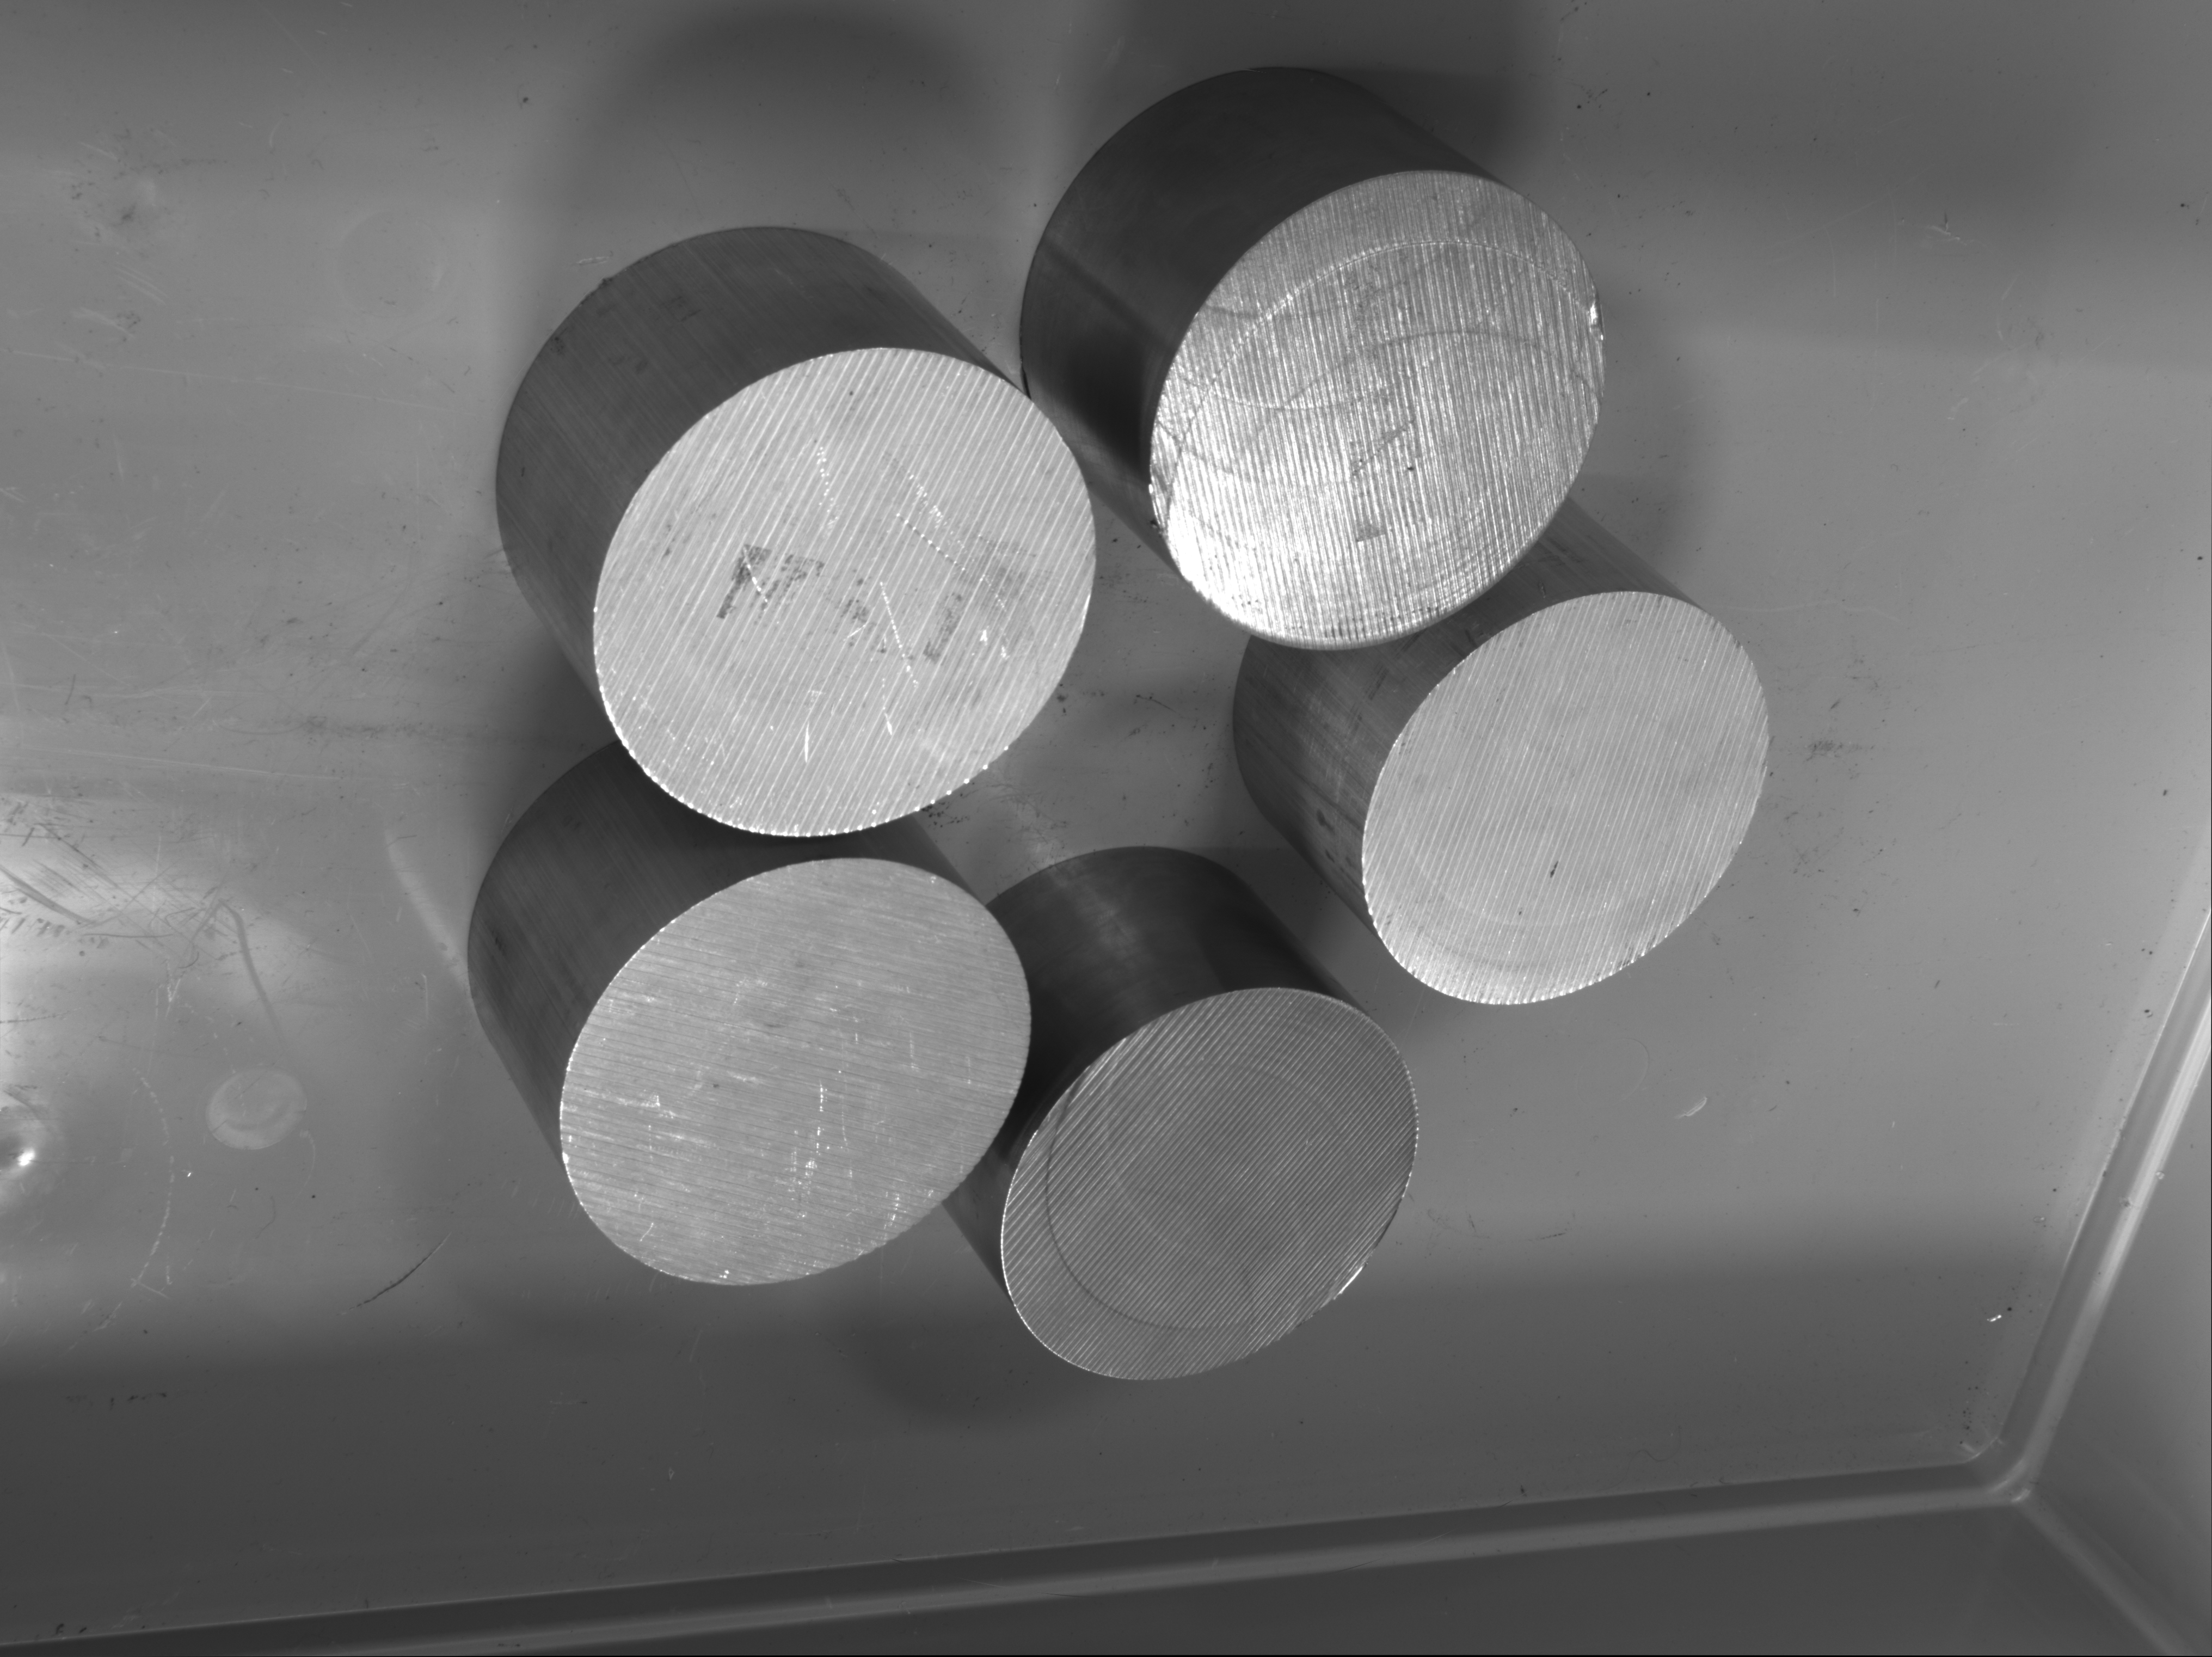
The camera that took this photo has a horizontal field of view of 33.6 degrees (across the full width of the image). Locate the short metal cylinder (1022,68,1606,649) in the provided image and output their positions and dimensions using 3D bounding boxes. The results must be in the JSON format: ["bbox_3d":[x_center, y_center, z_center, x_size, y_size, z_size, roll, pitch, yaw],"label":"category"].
[{"bbox_3d":[0.033,-0.076,0.591,0.080,0.050,0.080,-14,124,-21],"label":"short metal cylinder"}]

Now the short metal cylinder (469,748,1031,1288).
[{"bbox_3d":[-0.059,0.028,0.604,0.080,0.050,0.080,-14,124,-21],"label":"short metal cylinder"}]

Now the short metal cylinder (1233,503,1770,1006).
[{"bbox_3d":[0.069,-0.016,0.647,0.080,0.050,0.080,-14,124,-21],"label":"short metal cylinder"}]

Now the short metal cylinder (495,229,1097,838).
[{"bbox_3d":[-0.048,-0.046,0.565,0.080,0.050,0.080,-14,124,-21],"label":"short metal cylinder"}]

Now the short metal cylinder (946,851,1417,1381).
[{"bbox_3d":[0.008,0.051,0.654,0.080,0.050,0.080,-14,124,-21],"label":"short metal cylinder"}]
